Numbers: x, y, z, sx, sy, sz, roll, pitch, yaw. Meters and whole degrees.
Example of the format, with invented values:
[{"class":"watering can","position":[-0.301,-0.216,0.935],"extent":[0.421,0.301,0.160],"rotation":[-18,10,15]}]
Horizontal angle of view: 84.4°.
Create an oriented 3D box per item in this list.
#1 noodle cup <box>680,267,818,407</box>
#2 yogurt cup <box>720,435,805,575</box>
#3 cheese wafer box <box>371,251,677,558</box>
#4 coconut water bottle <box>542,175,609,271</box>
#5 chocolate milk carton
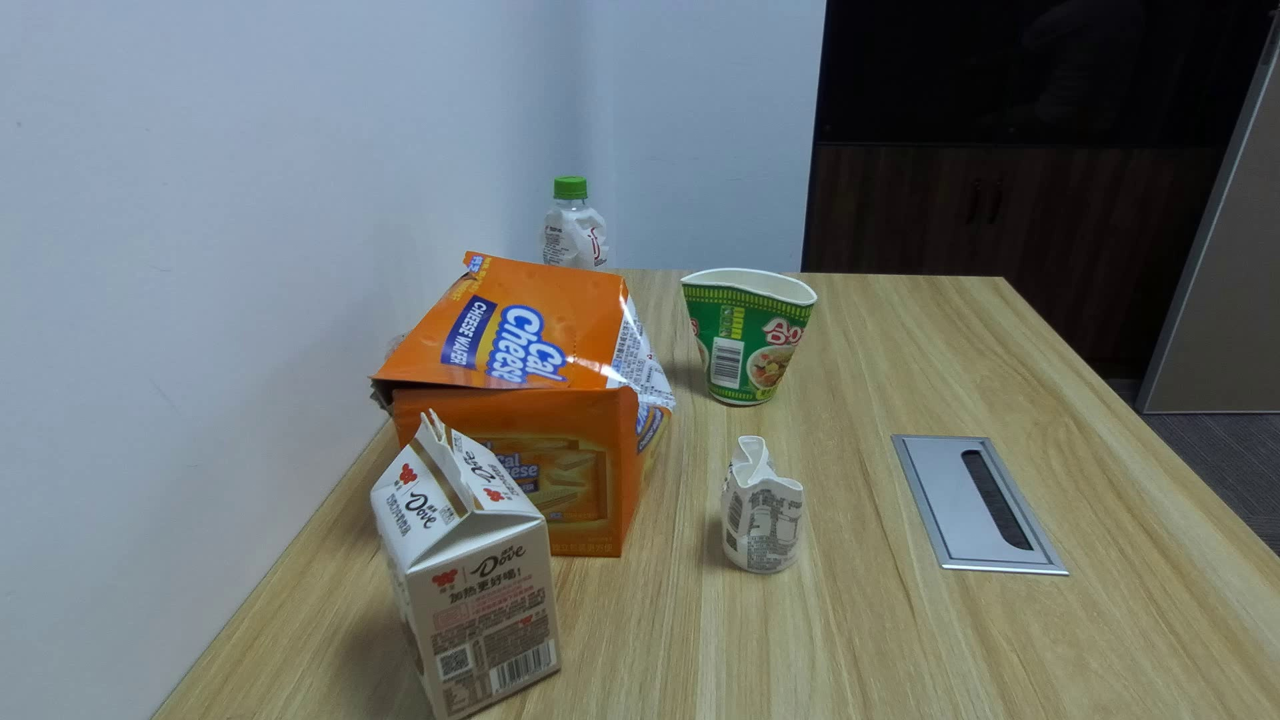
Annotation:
[{"class":"noodle cup","position":[0.099,-0.021,0.651],"extent":[0.070,0.111,0.114],"rotation":[-23,35,-34]},{"class":"yogurt cup","position":[0.081,0.096,0.468],"extent":[0.055,0.072,0.055],"rotation":[3,29,11]},{"class":"cheese wafer box","position":[-0.068,0.020,0.547],"extent":[0.191,0.145,0.219],"rotation":[0,28,3]},{"class":"coconut water bottle","position":[-0.064,-0.084,0.697],"extent":[0.067,0.187,0.067],"rotation":[0,20,0]},{"class":"chocolate milk carton","position":[-0.094,0.103,0.377],"extent":[0.074,0.148,0.075],"rotation":[-17,31,-27]}]
